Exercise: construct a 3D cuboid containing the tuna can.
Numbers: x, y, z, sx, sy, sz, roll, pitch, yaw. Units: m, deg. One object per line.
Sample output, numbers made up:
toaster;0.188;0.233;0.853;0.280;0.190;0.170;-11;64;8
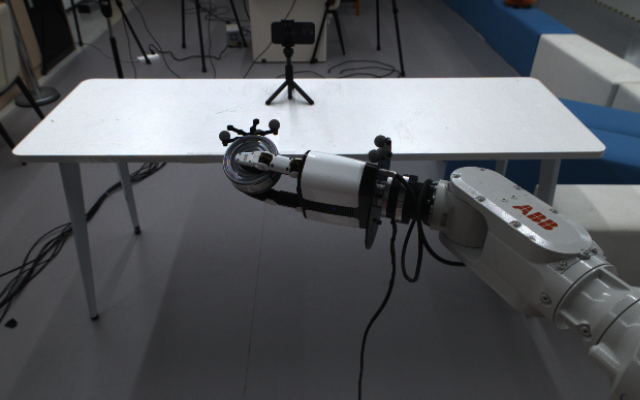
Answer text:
tuna can;-0.097;-0.048;0.720;0.085;0.034;0.085;-4;68;9
